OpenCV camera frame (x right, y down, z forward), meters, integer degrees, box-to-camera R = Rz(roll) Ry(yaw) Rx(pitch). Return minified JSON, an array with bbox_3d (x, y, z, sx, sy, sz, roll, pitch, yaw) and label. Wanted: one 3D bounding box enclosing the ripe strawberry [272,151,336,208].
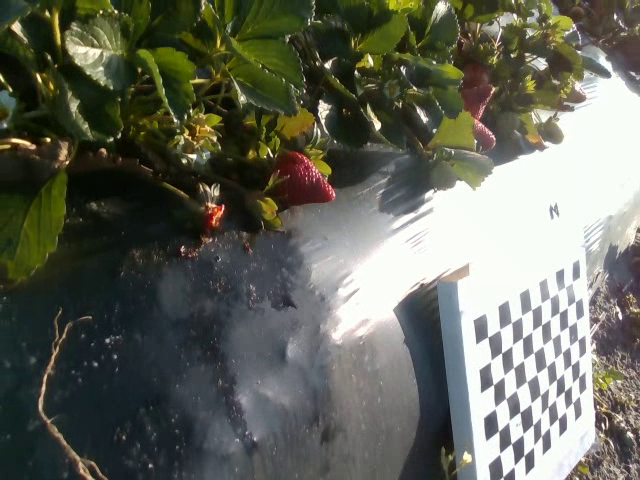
[{"bbox_3d":[-0.010,-0.042,0.460,0.051,0.052,0.041,24,-36,18],"label":"ripe strawberry"}]
